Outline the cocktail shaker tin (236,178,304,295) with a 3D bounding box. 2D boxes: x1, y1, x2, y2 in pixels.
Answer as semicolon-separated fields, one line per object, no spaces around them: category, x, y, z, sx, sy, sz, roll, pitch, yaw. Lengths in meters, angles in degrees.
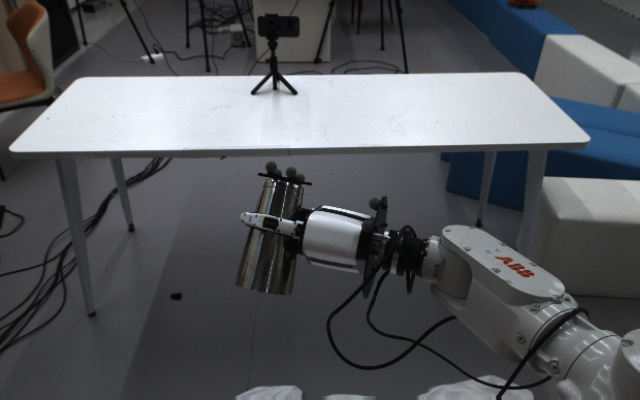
cocktail shaker tin;-0.074;0.057;0.769;0.093;0.170;0.093;11;-5;1
